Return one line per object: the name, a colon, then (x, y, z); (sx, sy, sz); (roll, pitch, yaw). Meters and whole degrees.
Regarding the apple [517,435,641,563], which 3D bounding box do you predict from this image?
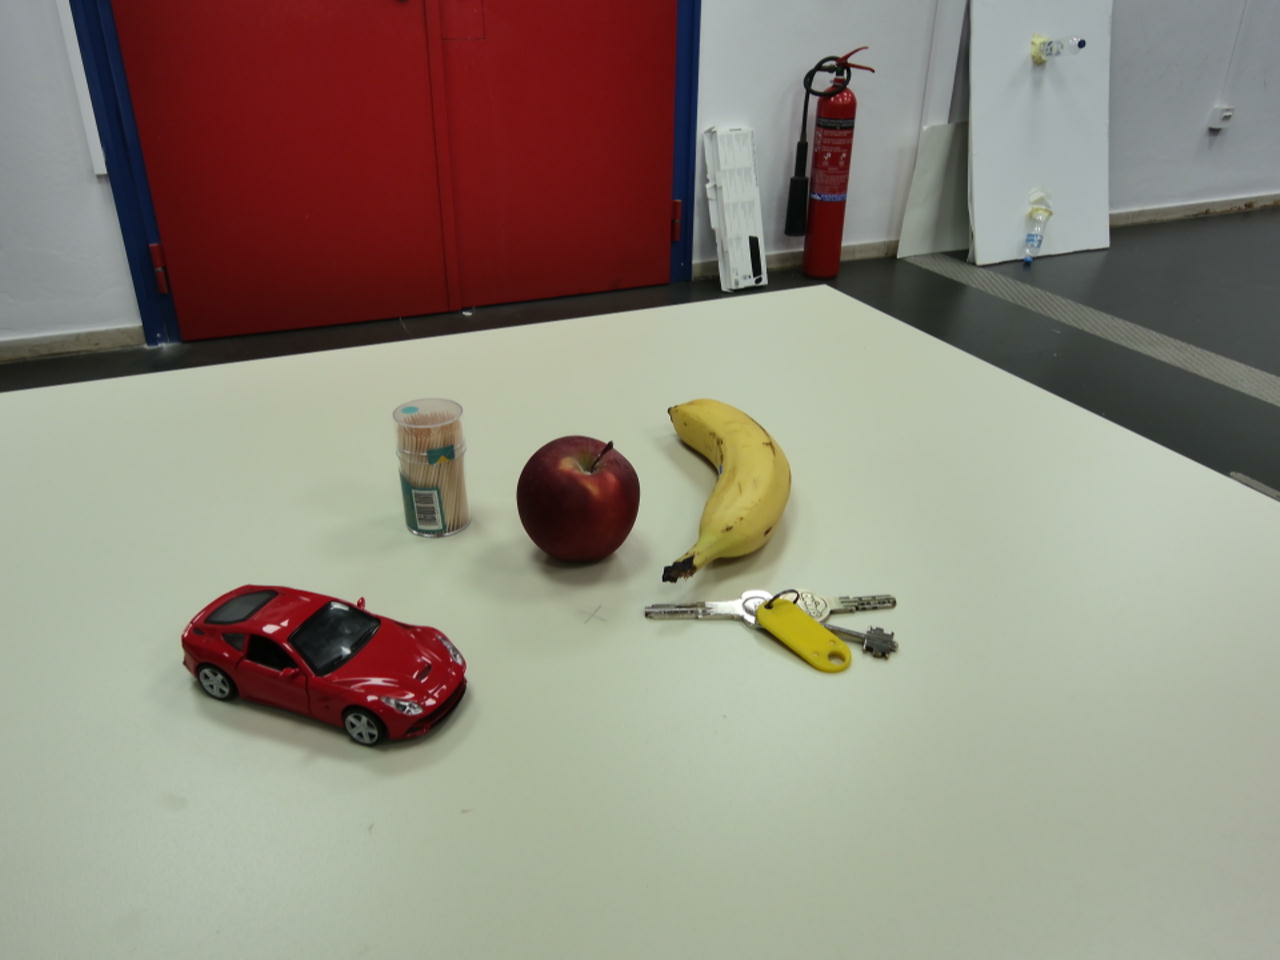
apple: (-0.034, 0.011, 0.561); (0.070, 0.072, 0.070); (0, 26, 0)
